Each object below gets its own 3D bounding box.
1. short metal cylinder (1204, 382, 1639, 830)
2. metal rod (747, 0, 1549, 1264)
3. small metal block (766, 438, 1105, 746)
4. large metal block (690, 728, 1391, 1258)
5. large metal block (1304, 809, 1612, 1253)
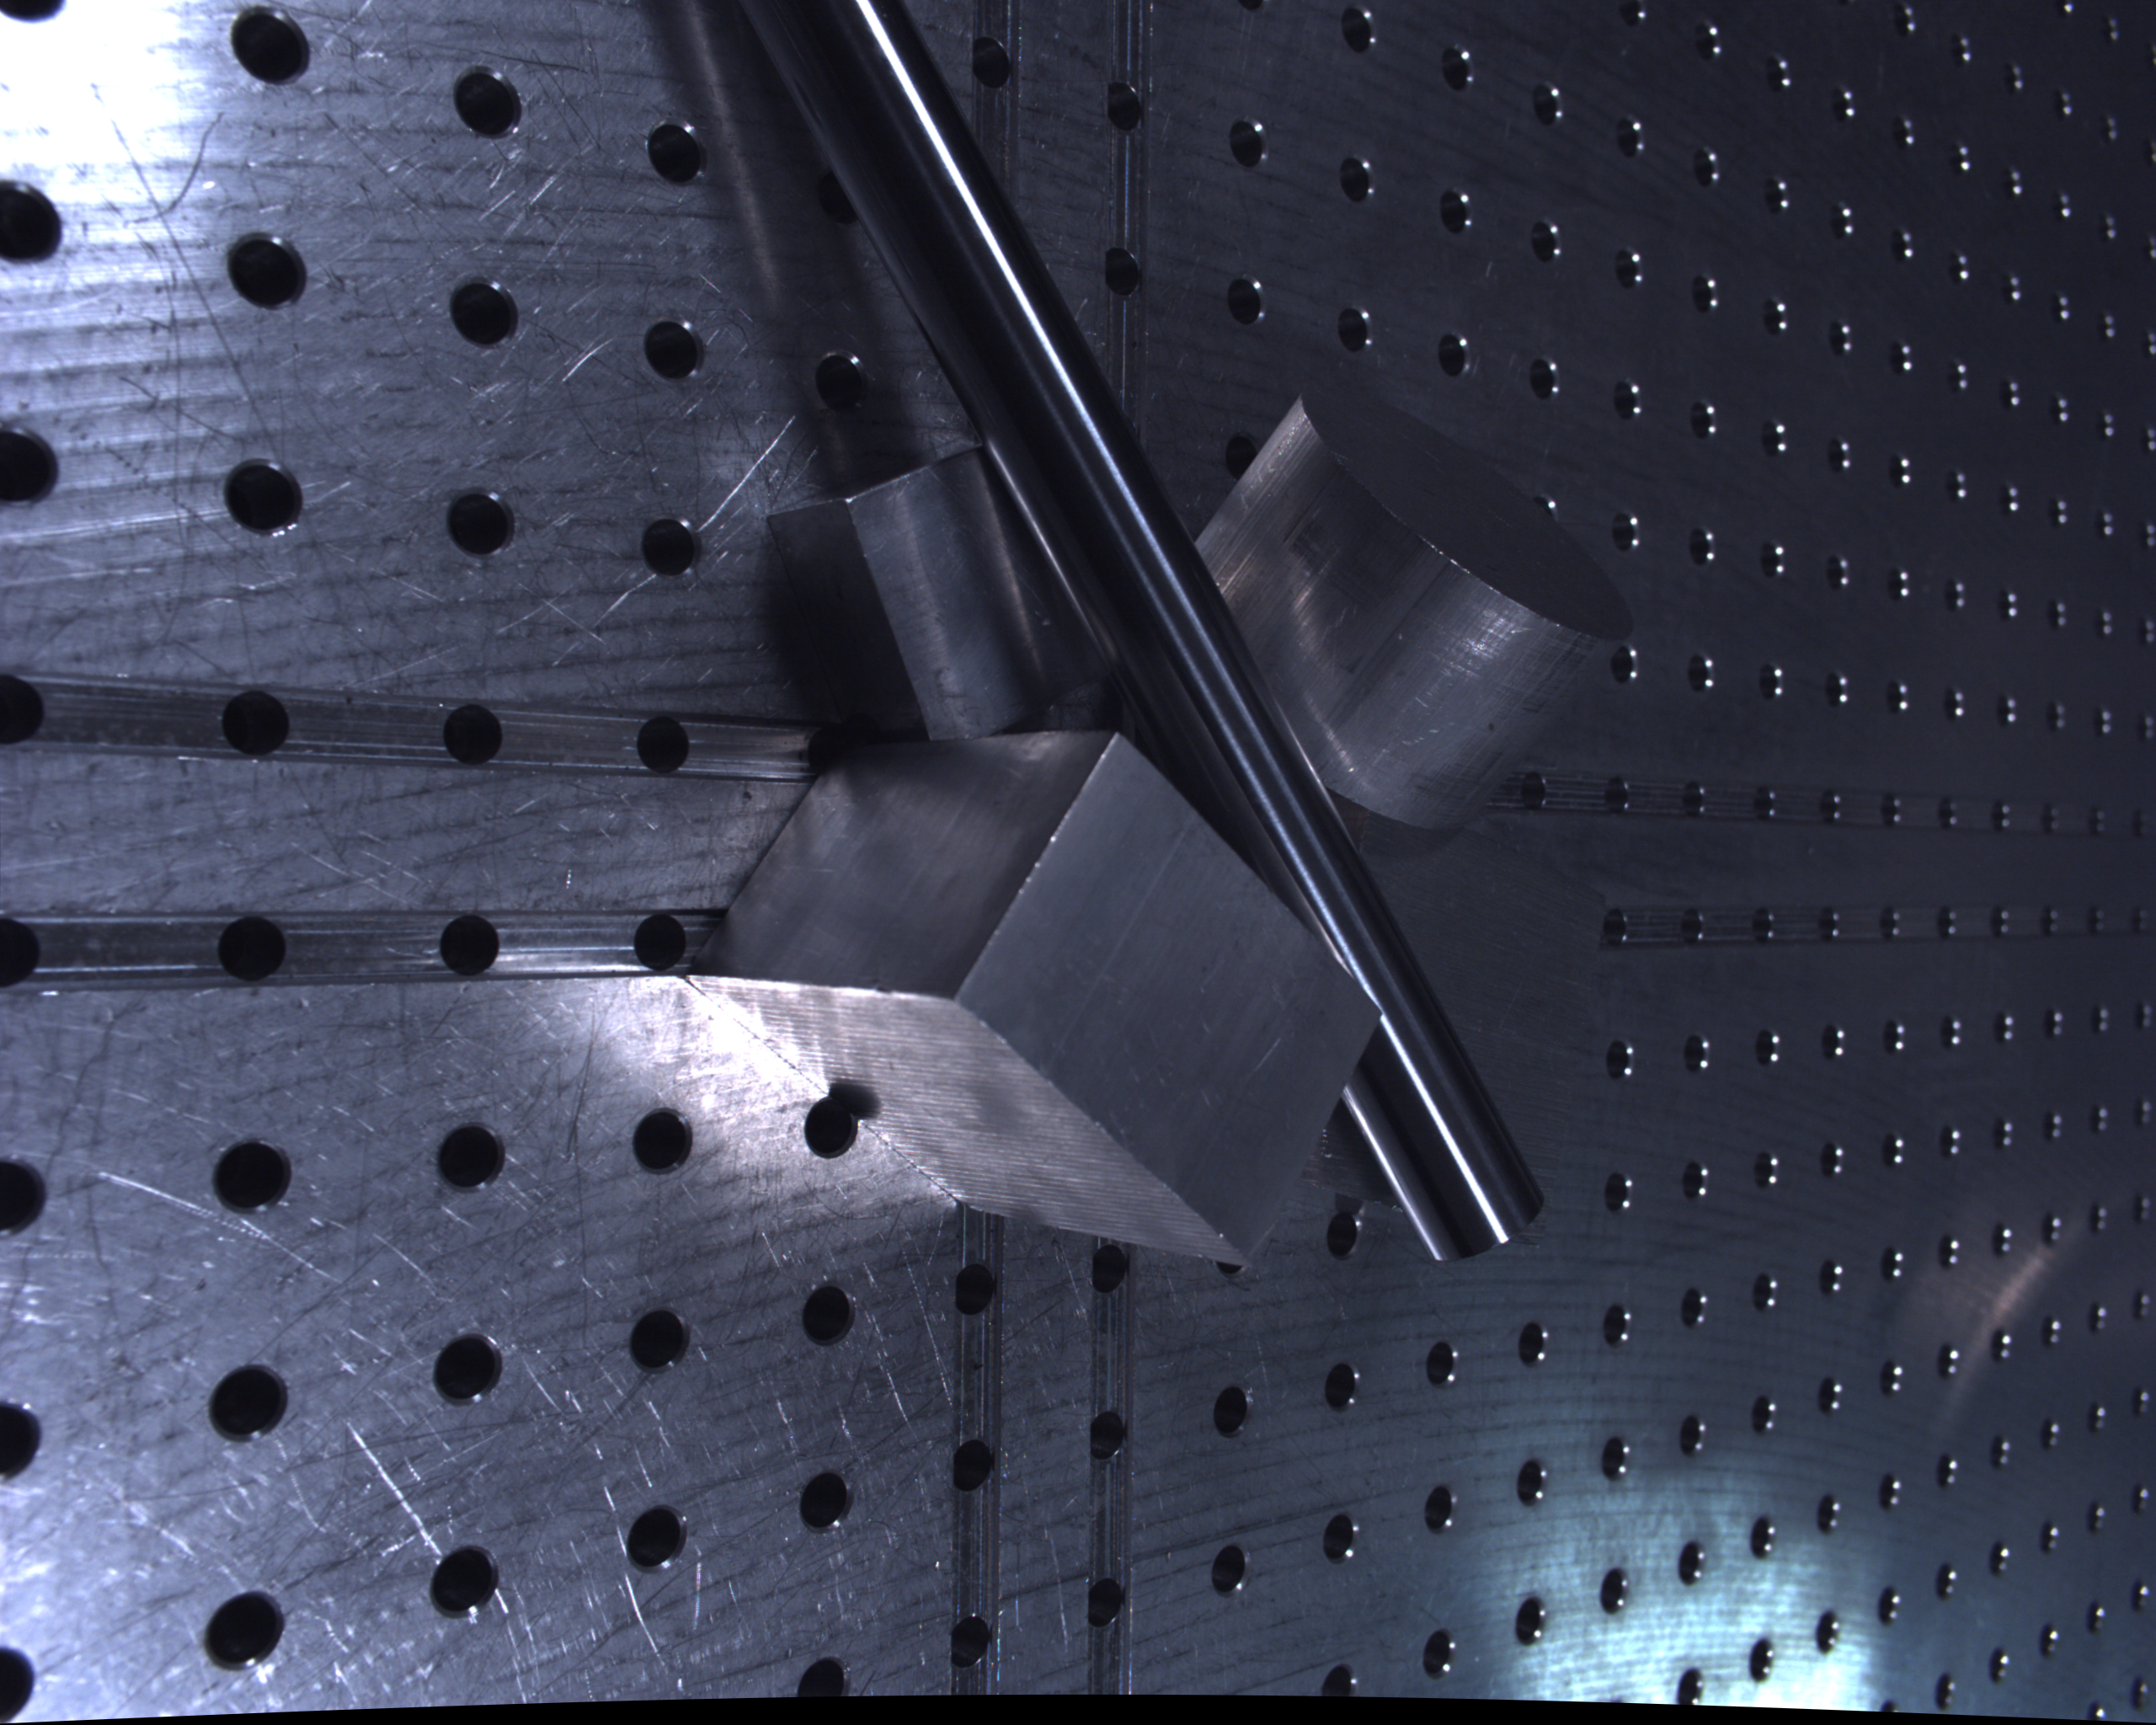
[{"bbox_3d":[0.065,-0.052,0.421,0.081,0.080,0.050,11,127,-40],"label":"short metal cylinder"},{"bbox_3d":[0.007,-0.060,0.377,0.025,0.025,0.299,-35,100,-35],"label":"metal rod"},{"bbox_3d":[-0.023,-0.051,0.392,0.050,0.025,0.050,-31,109,-36],"label":"small metal block"},{"bbox_3d":[-0.007,0.022,0.369,0.080,0.080,0.050,45,63,-31],"label":"large metal block"},{"bbox_3d":[0.063,0.034,0.448,0.080,0.050,0.080,22,76,-38],"label":"large metal block"}]
